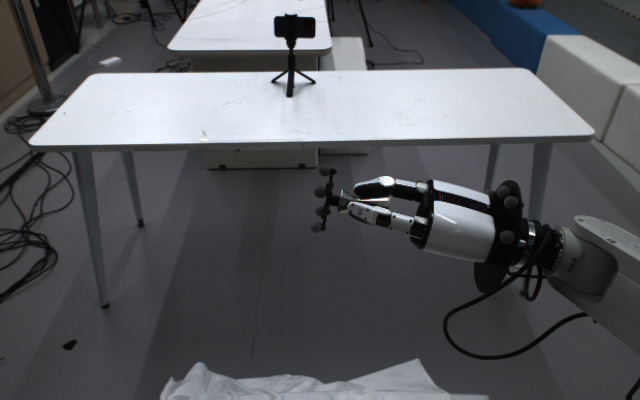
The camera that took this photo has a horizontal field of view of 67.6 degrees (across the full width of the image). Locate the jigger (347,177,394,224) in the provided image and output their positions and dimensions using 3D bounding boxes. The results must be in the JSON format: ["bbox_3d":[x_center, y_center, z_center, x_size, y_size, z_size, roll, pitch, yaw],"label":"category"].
[{"bbox_3d":[0.067,0.005,0.678,0.071,0.043,0.043,10,35,4],"label":"jigger"}]
